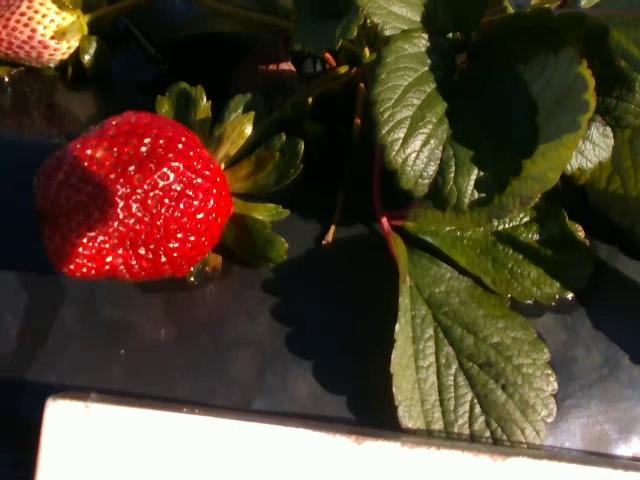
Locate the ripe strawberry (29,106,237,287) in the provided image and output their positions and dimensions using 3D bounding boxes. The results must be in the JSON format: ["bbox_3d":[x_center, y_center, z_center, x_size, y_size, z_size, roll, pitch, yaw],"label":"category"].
[{"bbox_3d":[-0.051,-0.009,0.162,0.058,0.066,0.061,-39,-2,17],"label":"ripe strawberry"}]
